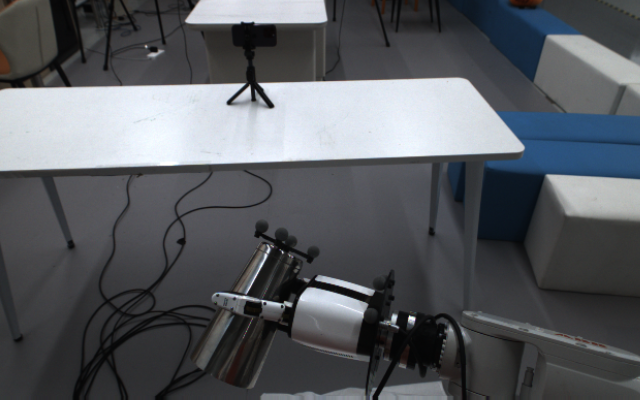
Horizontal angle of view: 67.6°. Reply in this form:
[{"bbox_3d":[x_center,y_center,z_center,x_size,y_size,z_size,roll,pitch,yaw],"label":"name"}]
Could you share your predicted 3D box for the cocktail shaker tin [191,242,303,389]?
[{"bbox_3d":[-0.088,0.142,0.636,0.093,0.093,0.170,22,81,26],"label":"cocktail shaker tin"}]
